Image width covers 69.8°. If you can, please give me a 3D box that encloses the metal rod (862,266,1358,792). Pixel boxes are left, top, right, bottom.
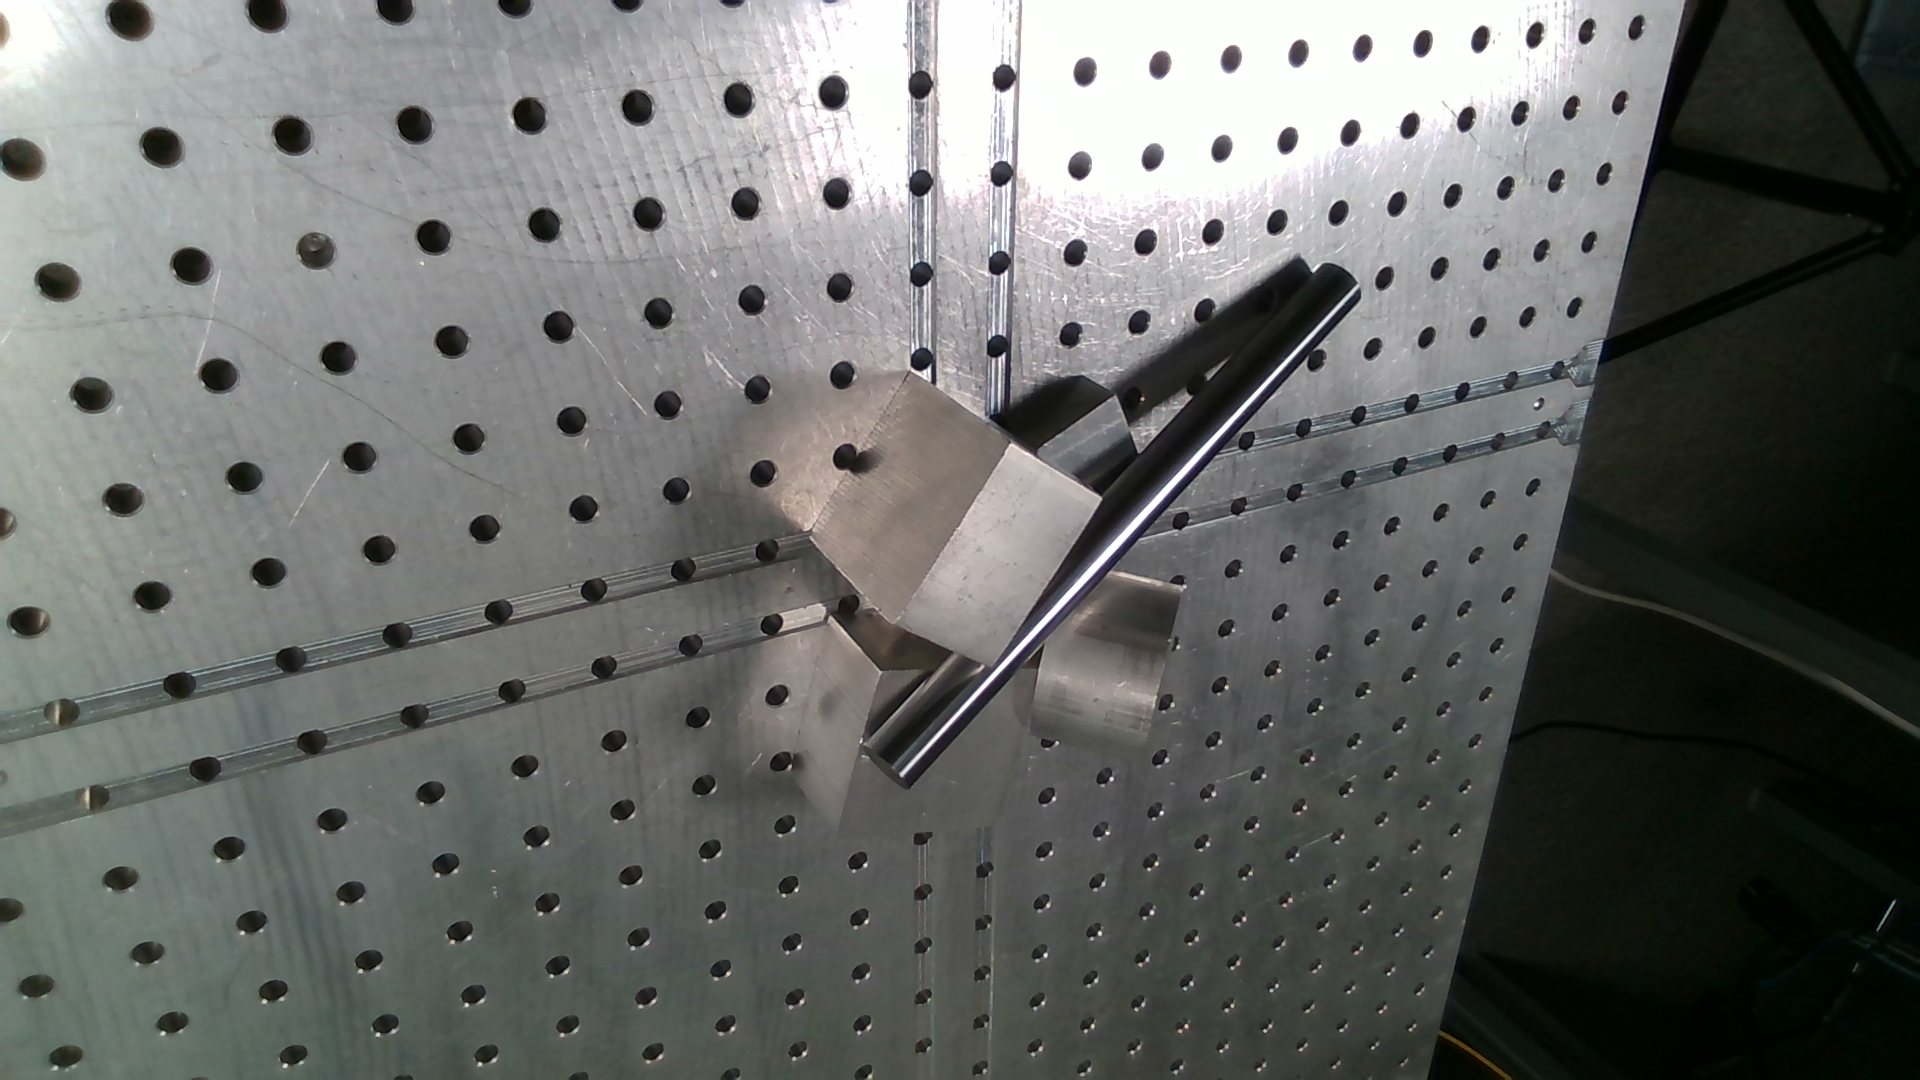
[{"bbox_3d":[0.071,-0.013,0.581,0.300,0.025,0.025,-46,130,-17],"label":"metal rod"}]

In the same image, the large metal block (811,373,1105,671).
[{"bbox_3d":[-0.003,-0.008,0.542,0.050,0.080,0.080,27,99,-38],"label":"large metal block"}]

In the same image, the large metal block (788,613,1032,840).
[{"bbox_3d":[-0.020,0.080,0.597,0.080,0.050,0.080,3,113,-33],"label":"large metal block"}]

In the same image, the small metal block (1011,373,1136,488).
[{"bbox_3d":[0.048,-0.035,0.595,0.050,0.025,0.050,-35,128,-11],"label":"small metal block"}]

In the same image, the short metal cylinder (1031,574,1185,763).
[{"bbox_3d":[0.066,0.054,0.609,0.050,0.080,0.080,13,114,10],"label":"short metal cylinder"}]
